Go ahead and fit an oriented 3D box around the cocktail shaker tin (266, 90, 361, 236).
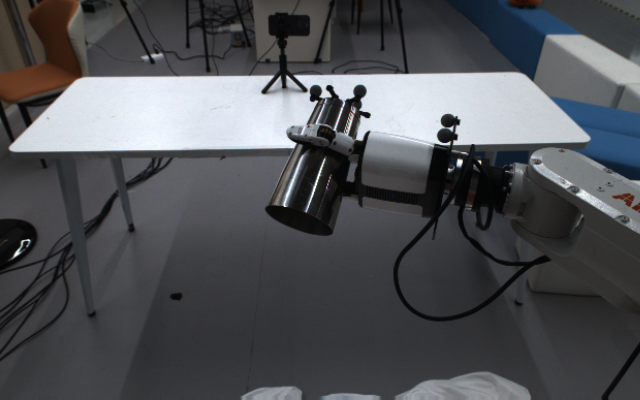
[{"bbox_3d":[-0.001,-0.049,0.646,0.093,0.093,0.170,13,70,15],"label":"cocktail shaker tin"}]
